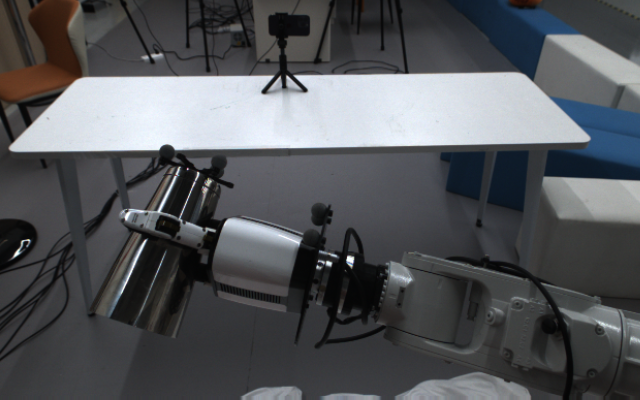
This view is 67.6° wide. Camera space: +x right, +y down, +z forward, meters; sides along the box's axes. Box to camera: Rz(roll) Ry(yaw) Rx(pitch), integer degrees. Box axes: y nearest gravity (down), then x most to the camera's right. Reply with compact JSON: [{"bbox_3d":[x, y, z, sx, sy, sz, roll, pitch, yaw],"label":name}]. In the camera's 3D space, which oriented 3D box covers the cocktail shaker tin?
[{"bbox_3d":[-0.170,0.053,0.527,0.093,0.093,0.170,13,70,15],"label":"cocktail shaker tin"}]
